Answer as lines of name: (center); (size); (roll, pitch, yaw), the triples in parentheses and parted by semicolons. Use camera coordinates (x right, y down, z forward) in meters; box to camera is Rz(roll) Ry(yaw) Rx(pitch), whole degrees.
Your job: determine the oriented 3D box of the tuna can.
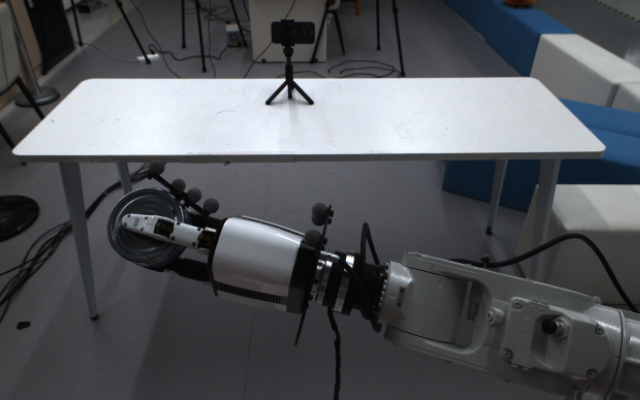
tuna can: (-0.184, 0.037, 0.535); (0.085, 0.034, 0.085); (0, 74, -1)
